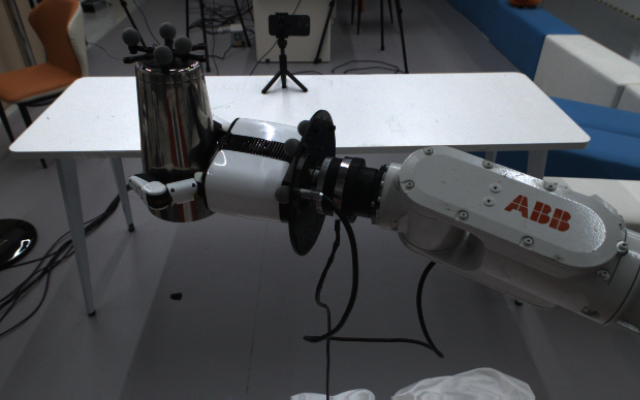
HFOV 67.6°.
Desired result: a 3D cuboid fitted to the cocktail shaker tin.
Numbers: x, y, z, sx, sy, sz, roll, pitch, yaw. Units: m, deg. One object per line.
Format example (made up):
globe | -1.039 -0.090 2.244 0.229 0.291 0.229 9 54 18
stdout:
cocktail shaker tin | -0.155 -0.070 0.537 0.093 0.170 0.093 2 35 -2
